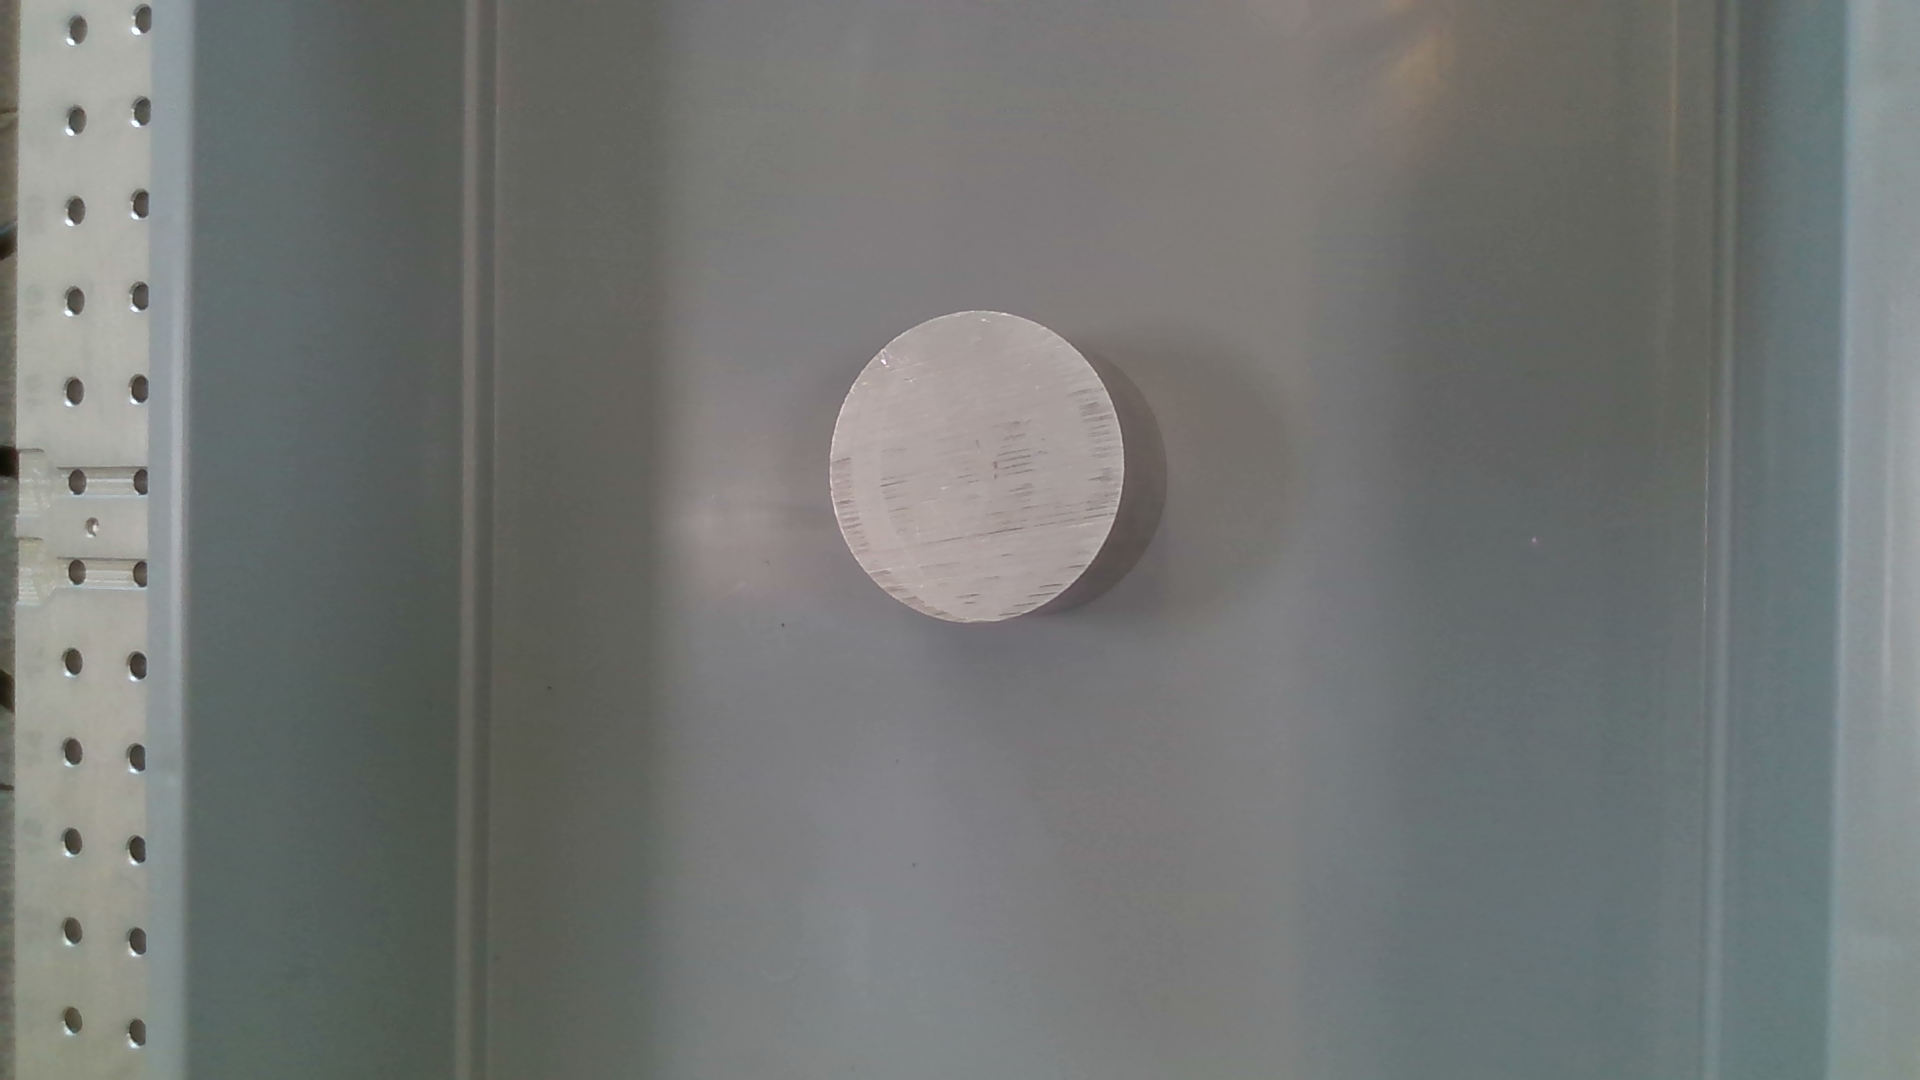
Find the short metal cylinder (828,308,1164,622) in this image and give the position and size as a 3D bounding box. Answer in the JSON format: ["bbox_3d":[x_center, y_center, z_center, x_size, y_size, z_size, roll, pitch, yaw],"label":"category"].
[{"bbox_3d":[0.011,-0.019,0.374,0.080,0.050,0.080,0,90,20],"label":"short metal cylinder"}]
